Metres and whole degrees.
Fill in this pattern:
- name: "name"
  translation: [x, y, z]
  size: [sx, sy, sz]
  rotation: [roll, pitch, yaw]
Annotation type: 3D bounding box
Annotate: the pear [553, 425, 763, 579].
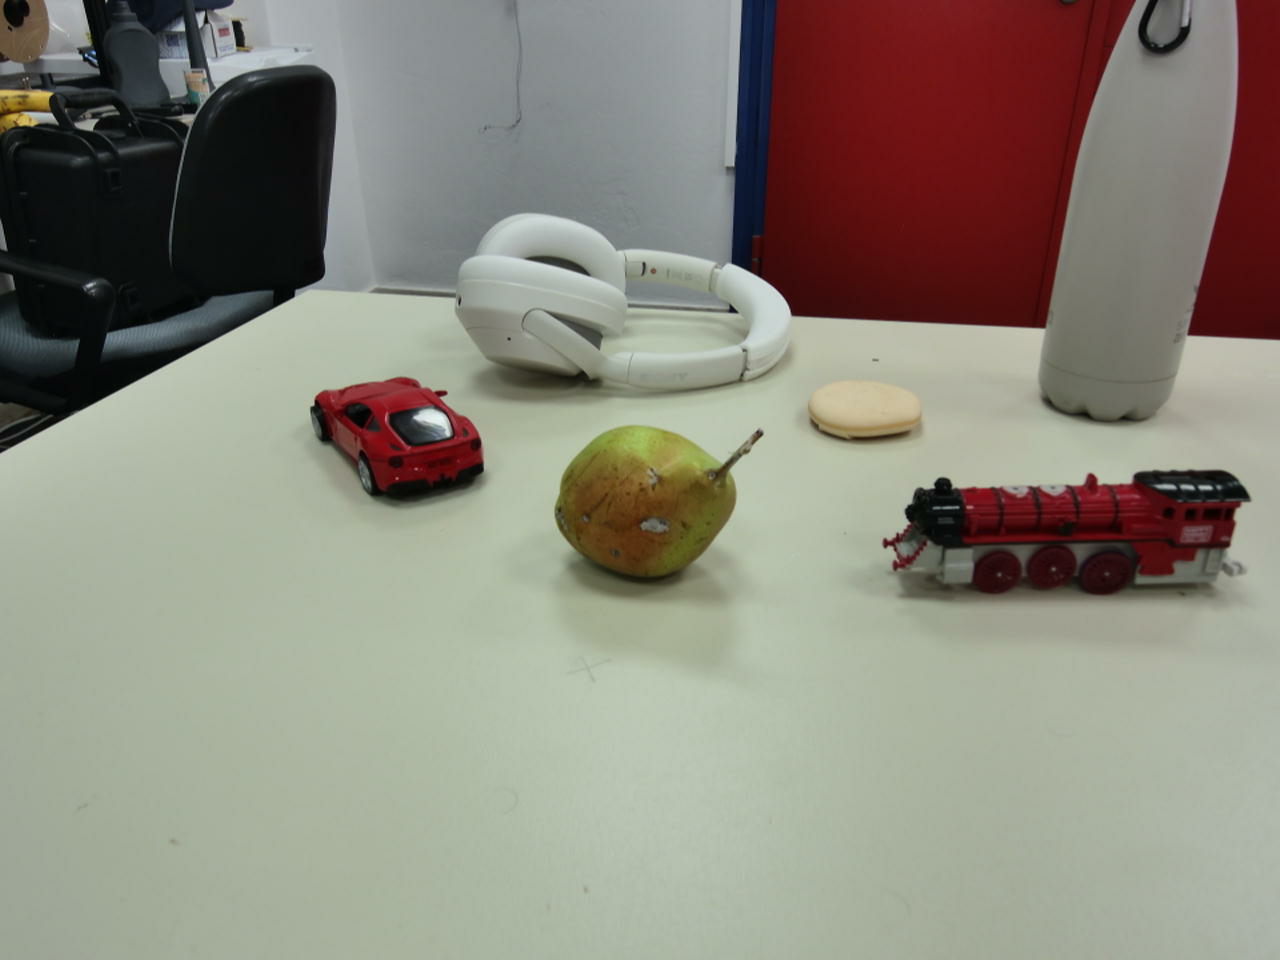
- name: "pear"
  translation: [0.002, 0.007, 0.412]
  size: [0.068, 0.069, 0.070]
  rotation: [-11, 26, -23]
